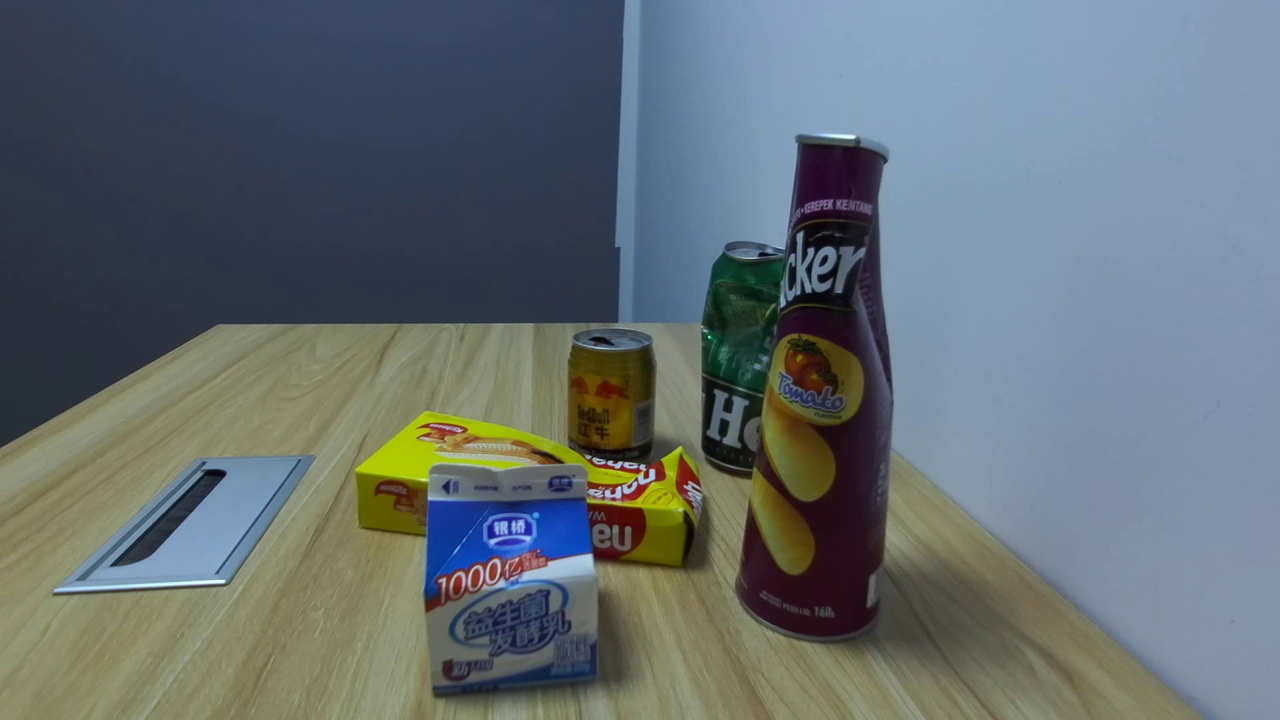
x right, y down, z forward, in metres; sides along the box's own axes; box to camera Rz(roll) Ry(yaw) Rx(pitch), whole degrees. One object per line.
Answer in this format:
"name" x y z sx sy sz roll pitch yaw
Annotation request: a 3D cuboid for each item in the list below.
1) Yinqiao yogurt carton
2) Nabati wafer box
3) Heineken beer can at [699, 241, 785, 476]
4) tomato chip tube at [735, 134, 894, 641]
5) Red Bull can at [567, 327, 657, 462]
"Yinqiao yogurt carton" -0.059 0.082 0.339 0.076 0.092 0.073 -1 40 -5
"Nabati wafer box" -0.062 0.078 0.453 0.204 0.042 0.107 6 18 9
"Heineken beer can" 0.090 0.006 0.533 0.066 0.164 0.077 9 6 -3
"tomato chip tube" 0.097 0.018 0.352 0.078 0.235 0.076 -2 13 -24
"Red Bull can" -0.022 0.029 0.532 0.067 0.093 0.067 1 17 0
